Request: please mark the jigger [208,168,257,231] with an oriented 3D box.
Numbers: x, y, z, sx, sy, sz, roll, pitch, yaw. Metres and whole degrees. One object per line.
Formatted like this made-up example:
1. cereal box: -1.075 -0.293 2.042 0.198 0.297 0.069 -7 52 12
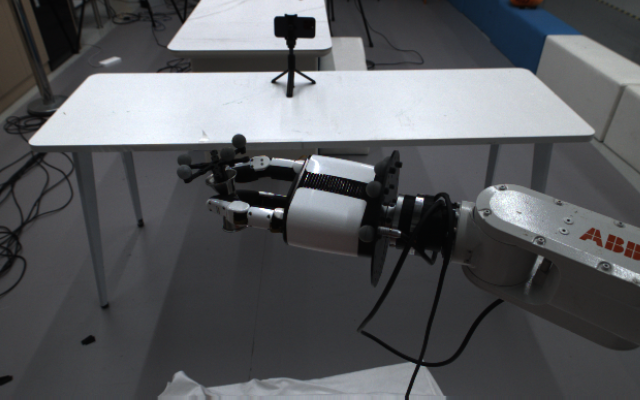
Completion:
1. jigger: -0.110 0.001 0.602 0.043 0.071 0.043 -12 29 7
